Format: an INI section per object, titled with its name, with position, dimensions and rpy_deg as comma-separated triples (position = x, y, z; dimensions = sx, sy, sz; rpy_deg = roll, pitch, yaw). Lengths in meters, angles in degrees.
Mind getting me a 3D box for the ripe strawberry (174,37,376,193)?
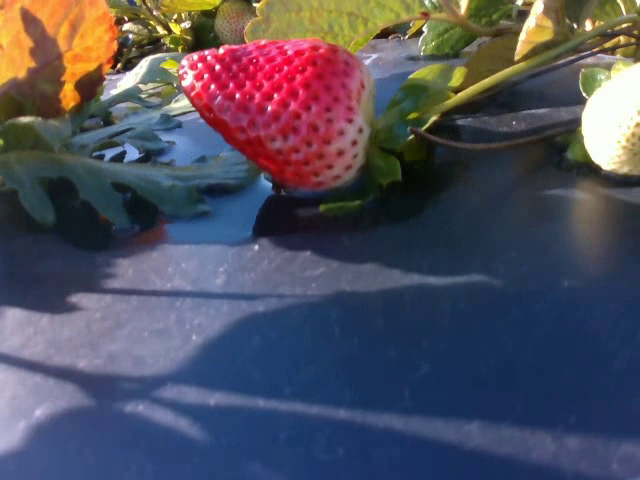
[ripe strawberry]
position = -0.009, -0.031, 0.134
dimensions = 0.053, 0.044, 0.036
rpy_deg = 14, -22, -4
